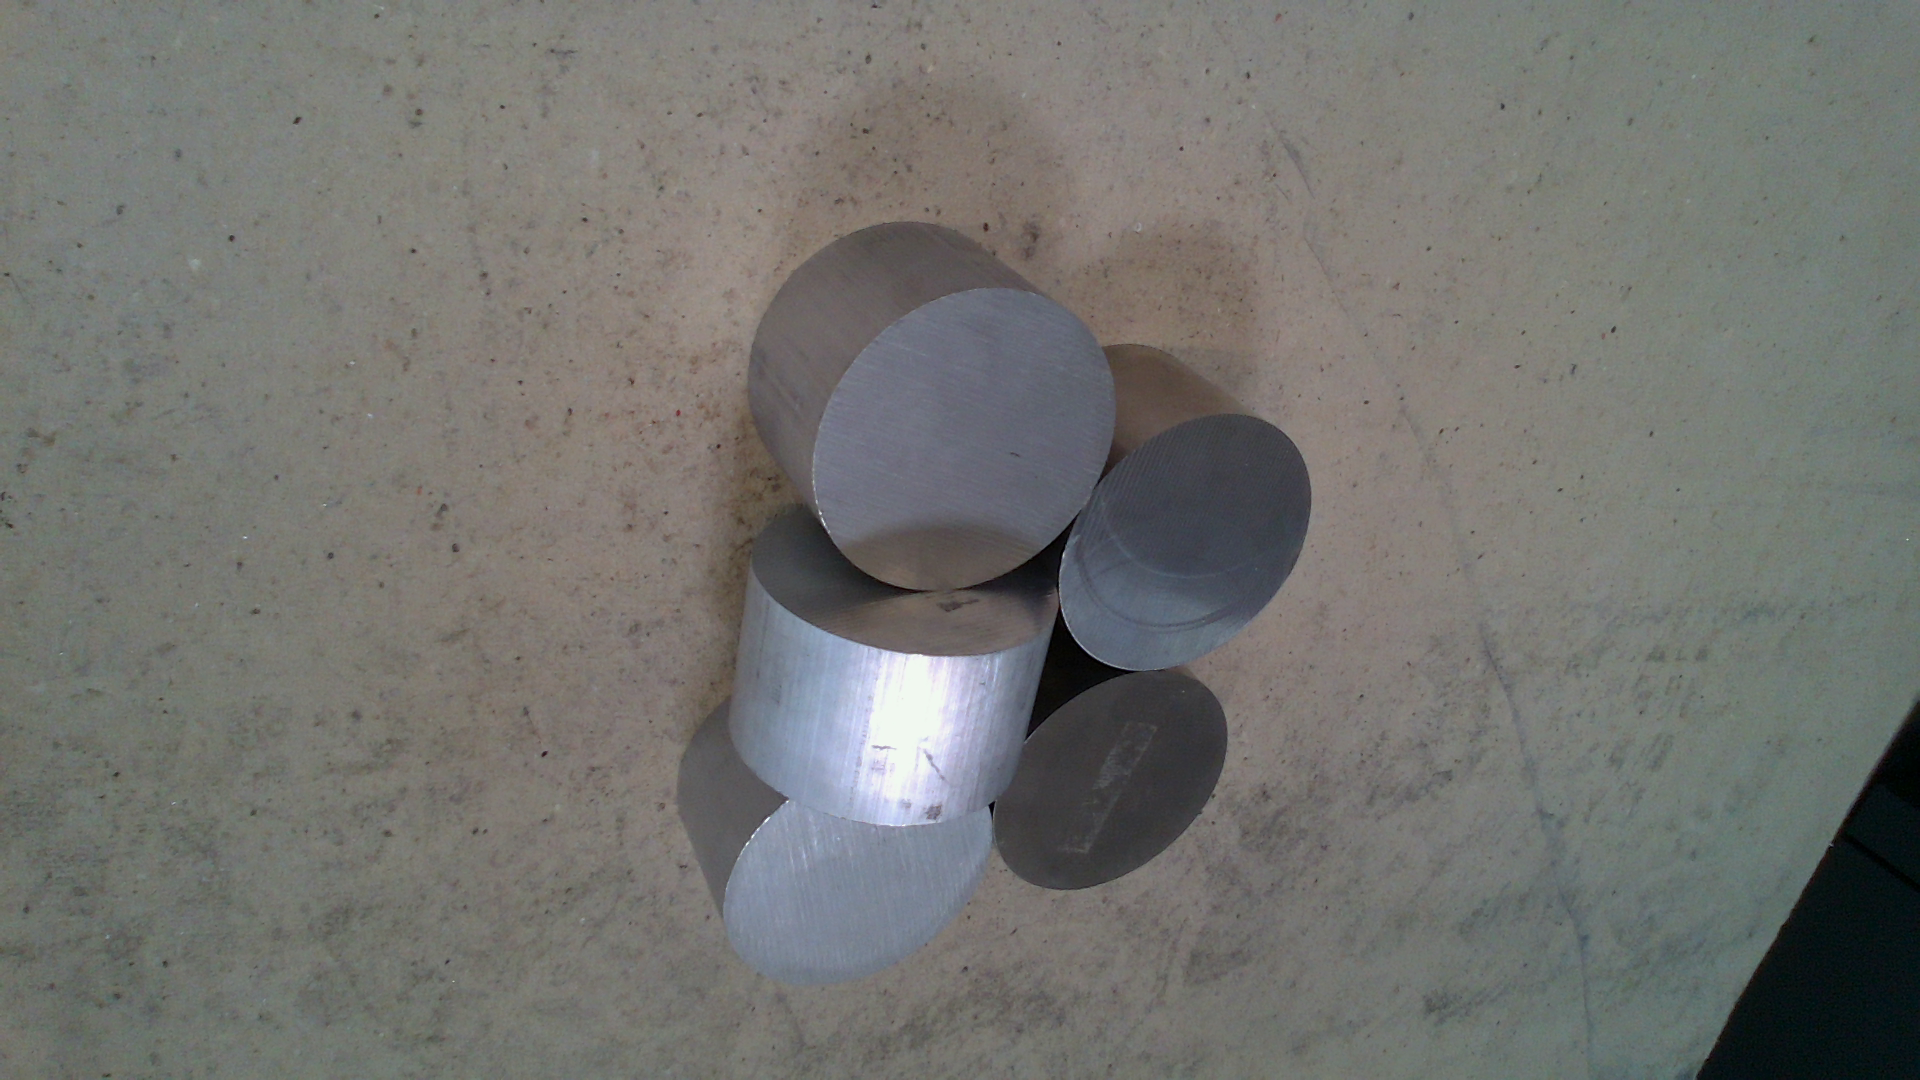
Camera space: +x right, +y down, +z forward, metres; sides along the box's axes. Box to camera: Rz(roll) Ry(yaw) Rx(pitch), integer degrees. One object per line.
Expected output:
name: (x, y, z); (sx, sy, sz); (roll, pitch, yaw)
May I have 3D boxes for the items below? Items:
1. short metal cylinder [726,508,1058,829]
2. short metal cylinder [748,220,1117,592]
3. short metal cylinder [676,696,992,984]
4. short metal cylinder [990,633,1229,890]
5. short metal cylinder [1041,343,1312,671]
short metal cylinder: (-0.019, 0.030, 0.362); (0.080, 0.080, 0.050); (-3, 120, -27)
short metal cylinder: (-0.008, -0.034, 0.348); (0.080, 0.050, 0.080); (-13, 124, -20)
short metal cylinder: (-0.037, 0.081, 0.403); (0.080, 0.050, 0.080); (-13, 124, -20)
short metal cylinder: (0.036, 0.061, 0.429); (0.080, 0.050, 0.080); (-13, 124, -20)
short metal cylinder: (0.053, -0.010, 0.395); (0.080, 0.050, 0.080); (-14, 125, -21)
